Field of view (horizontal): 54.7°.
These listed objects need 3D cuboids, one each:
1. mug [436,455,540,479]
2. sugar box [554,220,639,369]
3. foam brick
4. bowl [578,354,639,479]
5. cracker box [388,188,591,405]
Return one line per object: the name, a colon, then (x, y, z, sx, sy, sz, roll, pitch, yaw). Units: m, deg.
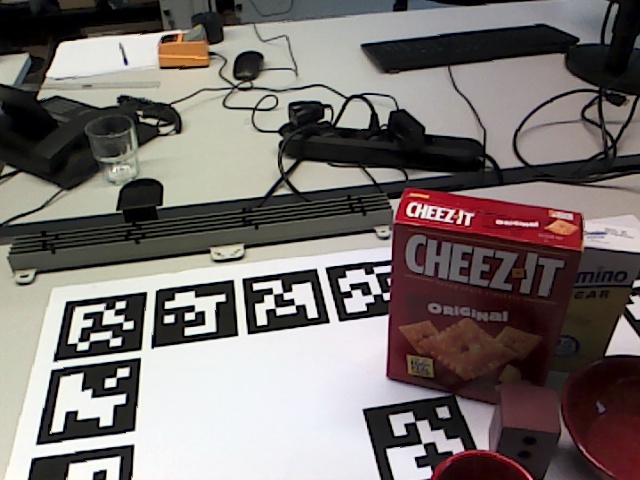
mug: (0.127, 0.242, 0.502, 0.117, 0.081, 0.094, -14, 31, -12)
sugar box: (0.267, 0.060, 0.654, 0.093, 0.176, 0.045, 6, 39, 11)
foam brick: (0.193, 0.184, 0.589, 0.053, 0.078, 0.051, 2, 37, 7)
bowl: (0.319, 0.185, 0.574, 0.162, 0.055, 0.162, -2, 39, 1)
cracker box: (0.159, 0.068, 0.623, 0.165, 0.213, 0.072, 12, 38, 17)
